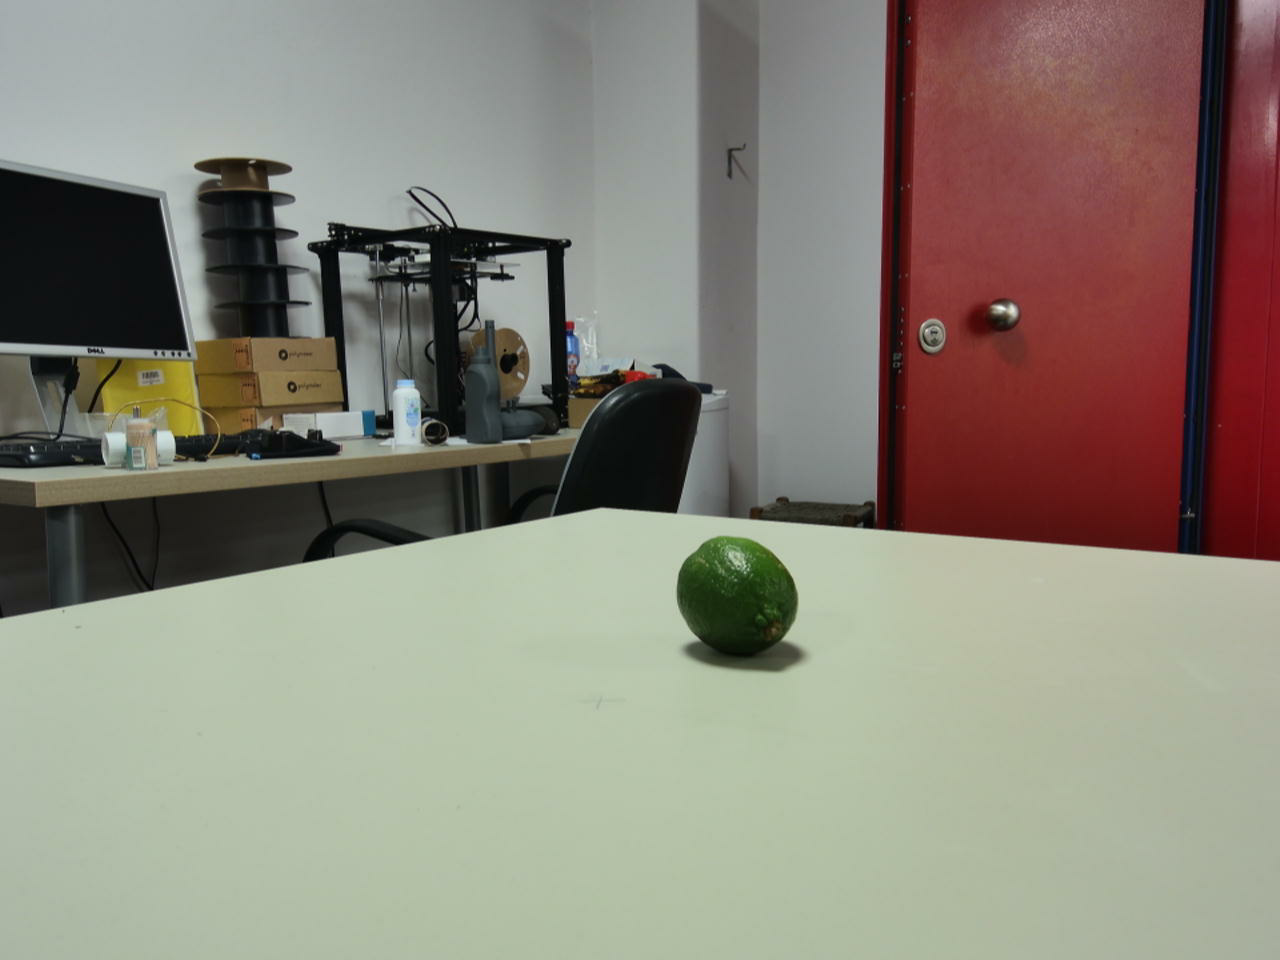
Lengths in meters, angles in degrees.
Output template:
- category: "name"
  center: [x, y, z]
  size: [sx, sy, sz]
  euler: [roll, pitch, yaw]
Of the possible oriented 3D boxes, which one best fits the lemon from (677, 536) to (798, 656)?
- category: "lemon"
  center: [0.044, 0.051, 0.451]
  size: [0.057, 0.051, 0.054]
  euler: [2, 4, 34]
